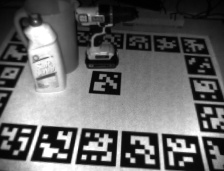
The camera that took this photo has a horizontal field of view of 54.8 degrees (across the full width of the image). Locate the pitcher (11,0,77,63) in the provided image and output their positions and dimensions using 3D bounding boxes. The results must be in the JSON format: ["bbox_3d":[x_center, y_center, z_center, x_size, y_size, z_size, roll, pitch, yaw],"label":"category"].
[{"bbox_3d":[-0.191,-0.182,0.683,0.190,0.243,0.132,-19,56,-14],"label":"pitcher"}]

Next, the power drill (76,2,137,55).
[{"bbox_3d":[-0.022,-0.180,0.701,0.185,0.187,0.057,2,55,-7],"label":"power drill"}]

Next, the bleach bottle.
[{"bbox_3d":[-0.209,-0.115,0.606,0.103,0.252,0.067,-3,53,-2],"label":"bleach bottle"}]
